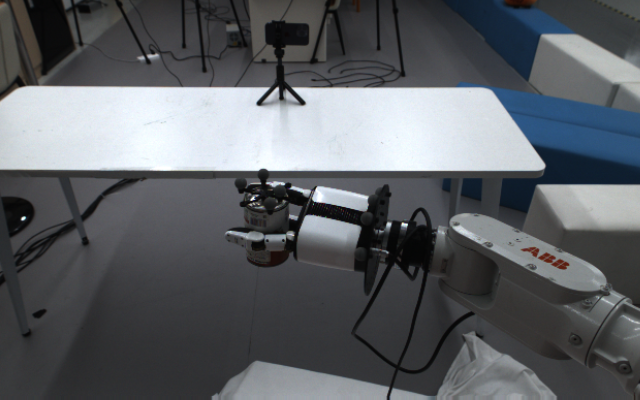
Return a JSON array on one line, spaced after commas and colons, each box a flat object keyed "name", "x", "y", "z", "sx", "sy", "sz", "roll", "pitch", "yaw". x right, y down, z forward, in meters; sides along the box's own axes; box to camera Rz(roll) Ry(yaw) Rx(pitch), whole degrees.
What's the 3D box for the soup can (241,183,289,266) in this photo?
[{"name": "soup can", "x": -0.077, "y": 0.041, "z": 0.715, "sx": 0.067, "sy": 0.101, "sz": 0.067, "roll": 2, "pitch": 32, "yaw": -1}]
